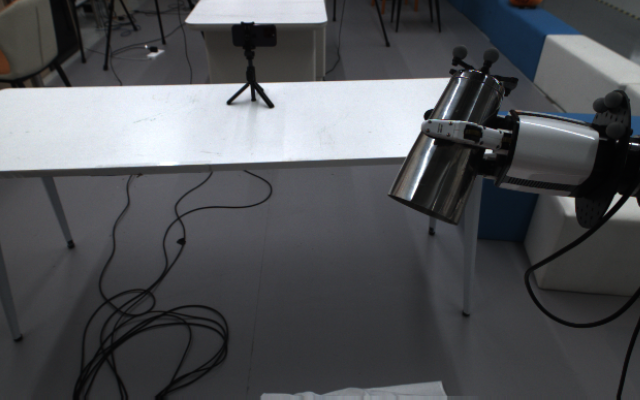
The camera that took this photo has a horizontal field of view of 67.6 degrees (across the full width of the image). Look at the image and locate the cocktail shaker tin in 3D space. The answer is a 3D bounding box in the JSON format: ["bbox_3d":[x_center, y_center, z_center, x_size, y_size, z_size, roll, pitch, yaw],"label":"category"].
[{"bbox_3d":[0.161,-0.068,0.587,0.093,0.170,0.093,23,-1,0],"label":"cocktail shaker tin"}]
